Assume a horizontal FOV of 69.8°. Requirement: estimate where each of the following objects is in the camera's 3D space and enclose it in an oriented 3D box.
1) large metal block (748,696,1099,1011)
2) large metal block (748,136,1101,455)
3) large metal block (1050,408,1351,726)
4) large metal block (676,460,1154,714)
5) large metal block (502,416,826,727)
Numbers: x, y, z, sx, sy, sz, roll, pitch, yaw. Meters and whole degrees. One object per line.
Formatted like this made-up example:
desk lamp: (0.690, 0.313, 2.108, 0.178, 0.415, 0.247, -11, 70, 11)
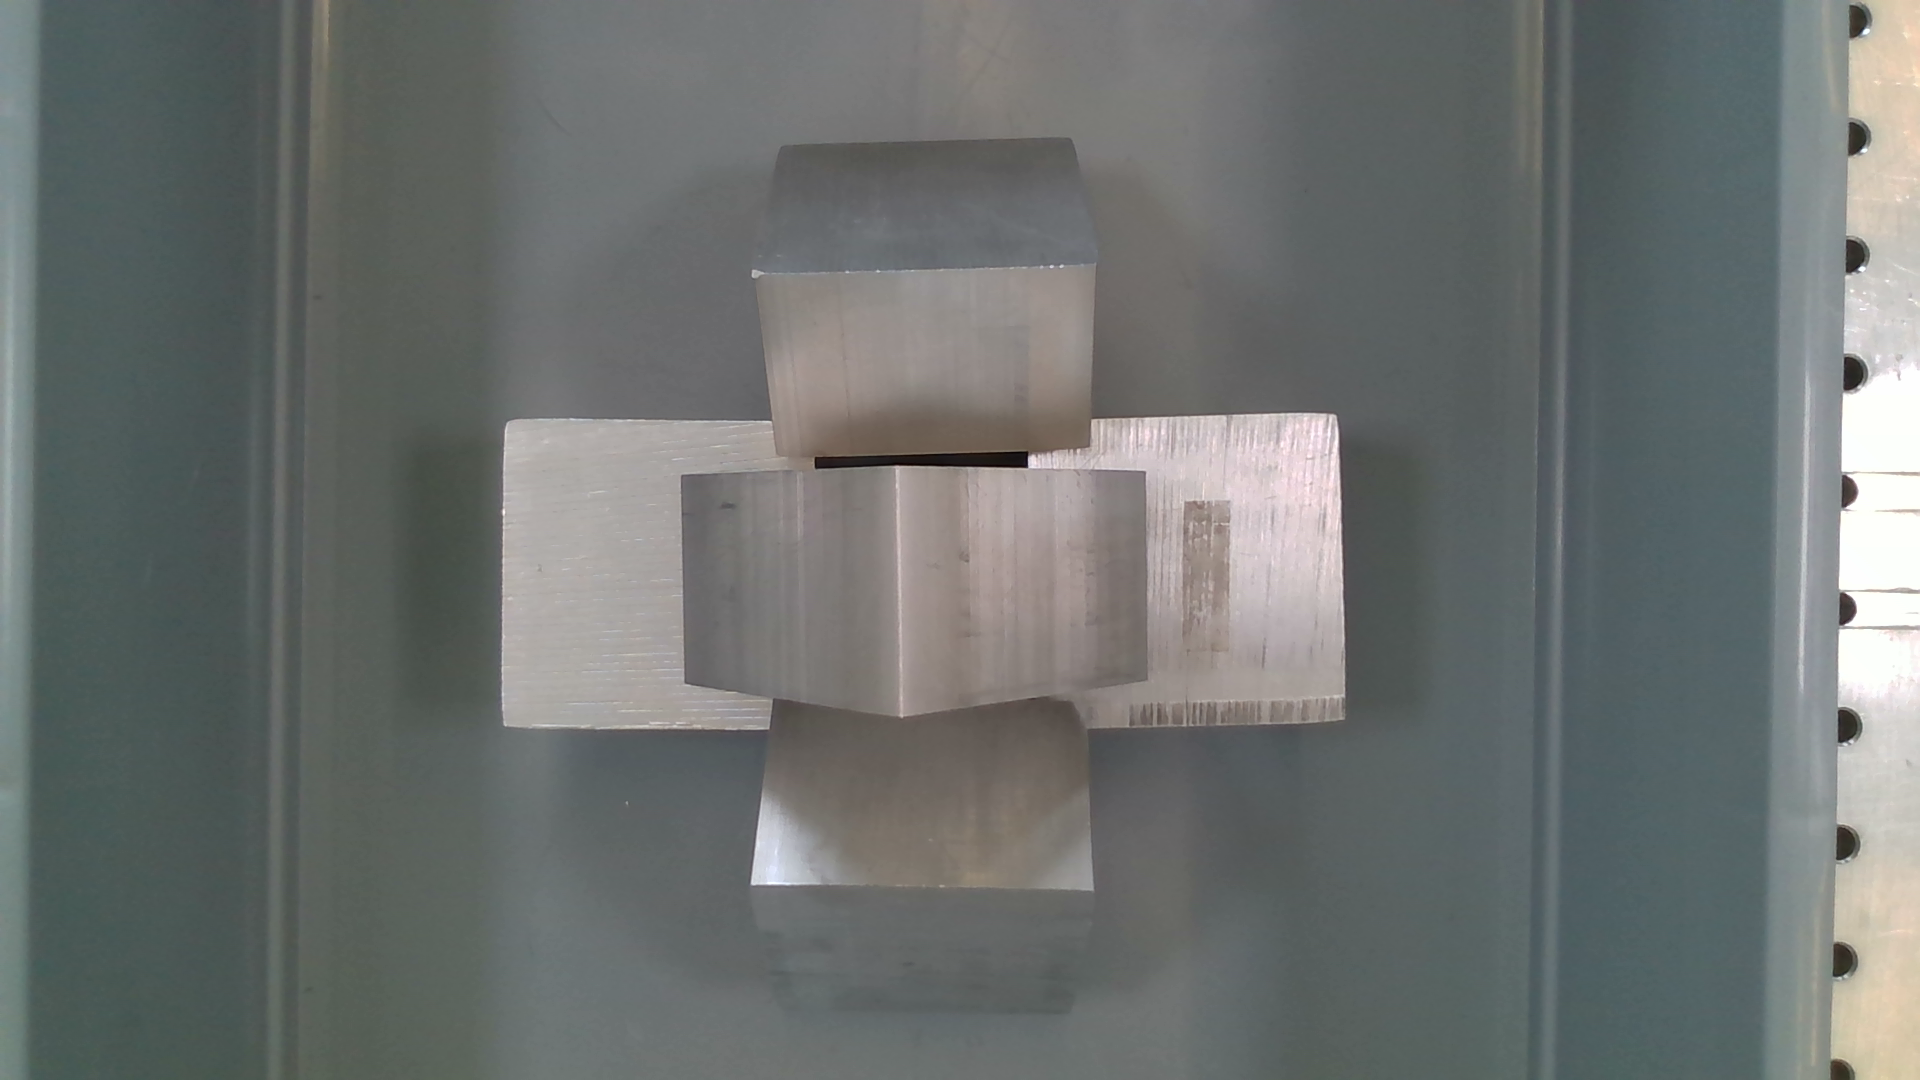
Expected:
large metal block: (-0.008, 0.084, 0.360, 0.080, 0.080, 0.050, 1, 51, 0)
large metal block: (-0.008, -0.066, 0.359, 0.080, 0.080, 0.050, -1, 126, 0)
large metal block: (0.060, 0.007, 0.380, 0.080, 0.050, 0.080, -2, 90, 0)
large metal block: (-0.011, 0.008, 0.327, 0.080, 0.080, 0.050, -2, 92, -44)
large metal block: (-0.079, 0.008, 0.382, 0.080, 0.050, 0.080, 1, 90, 0)
